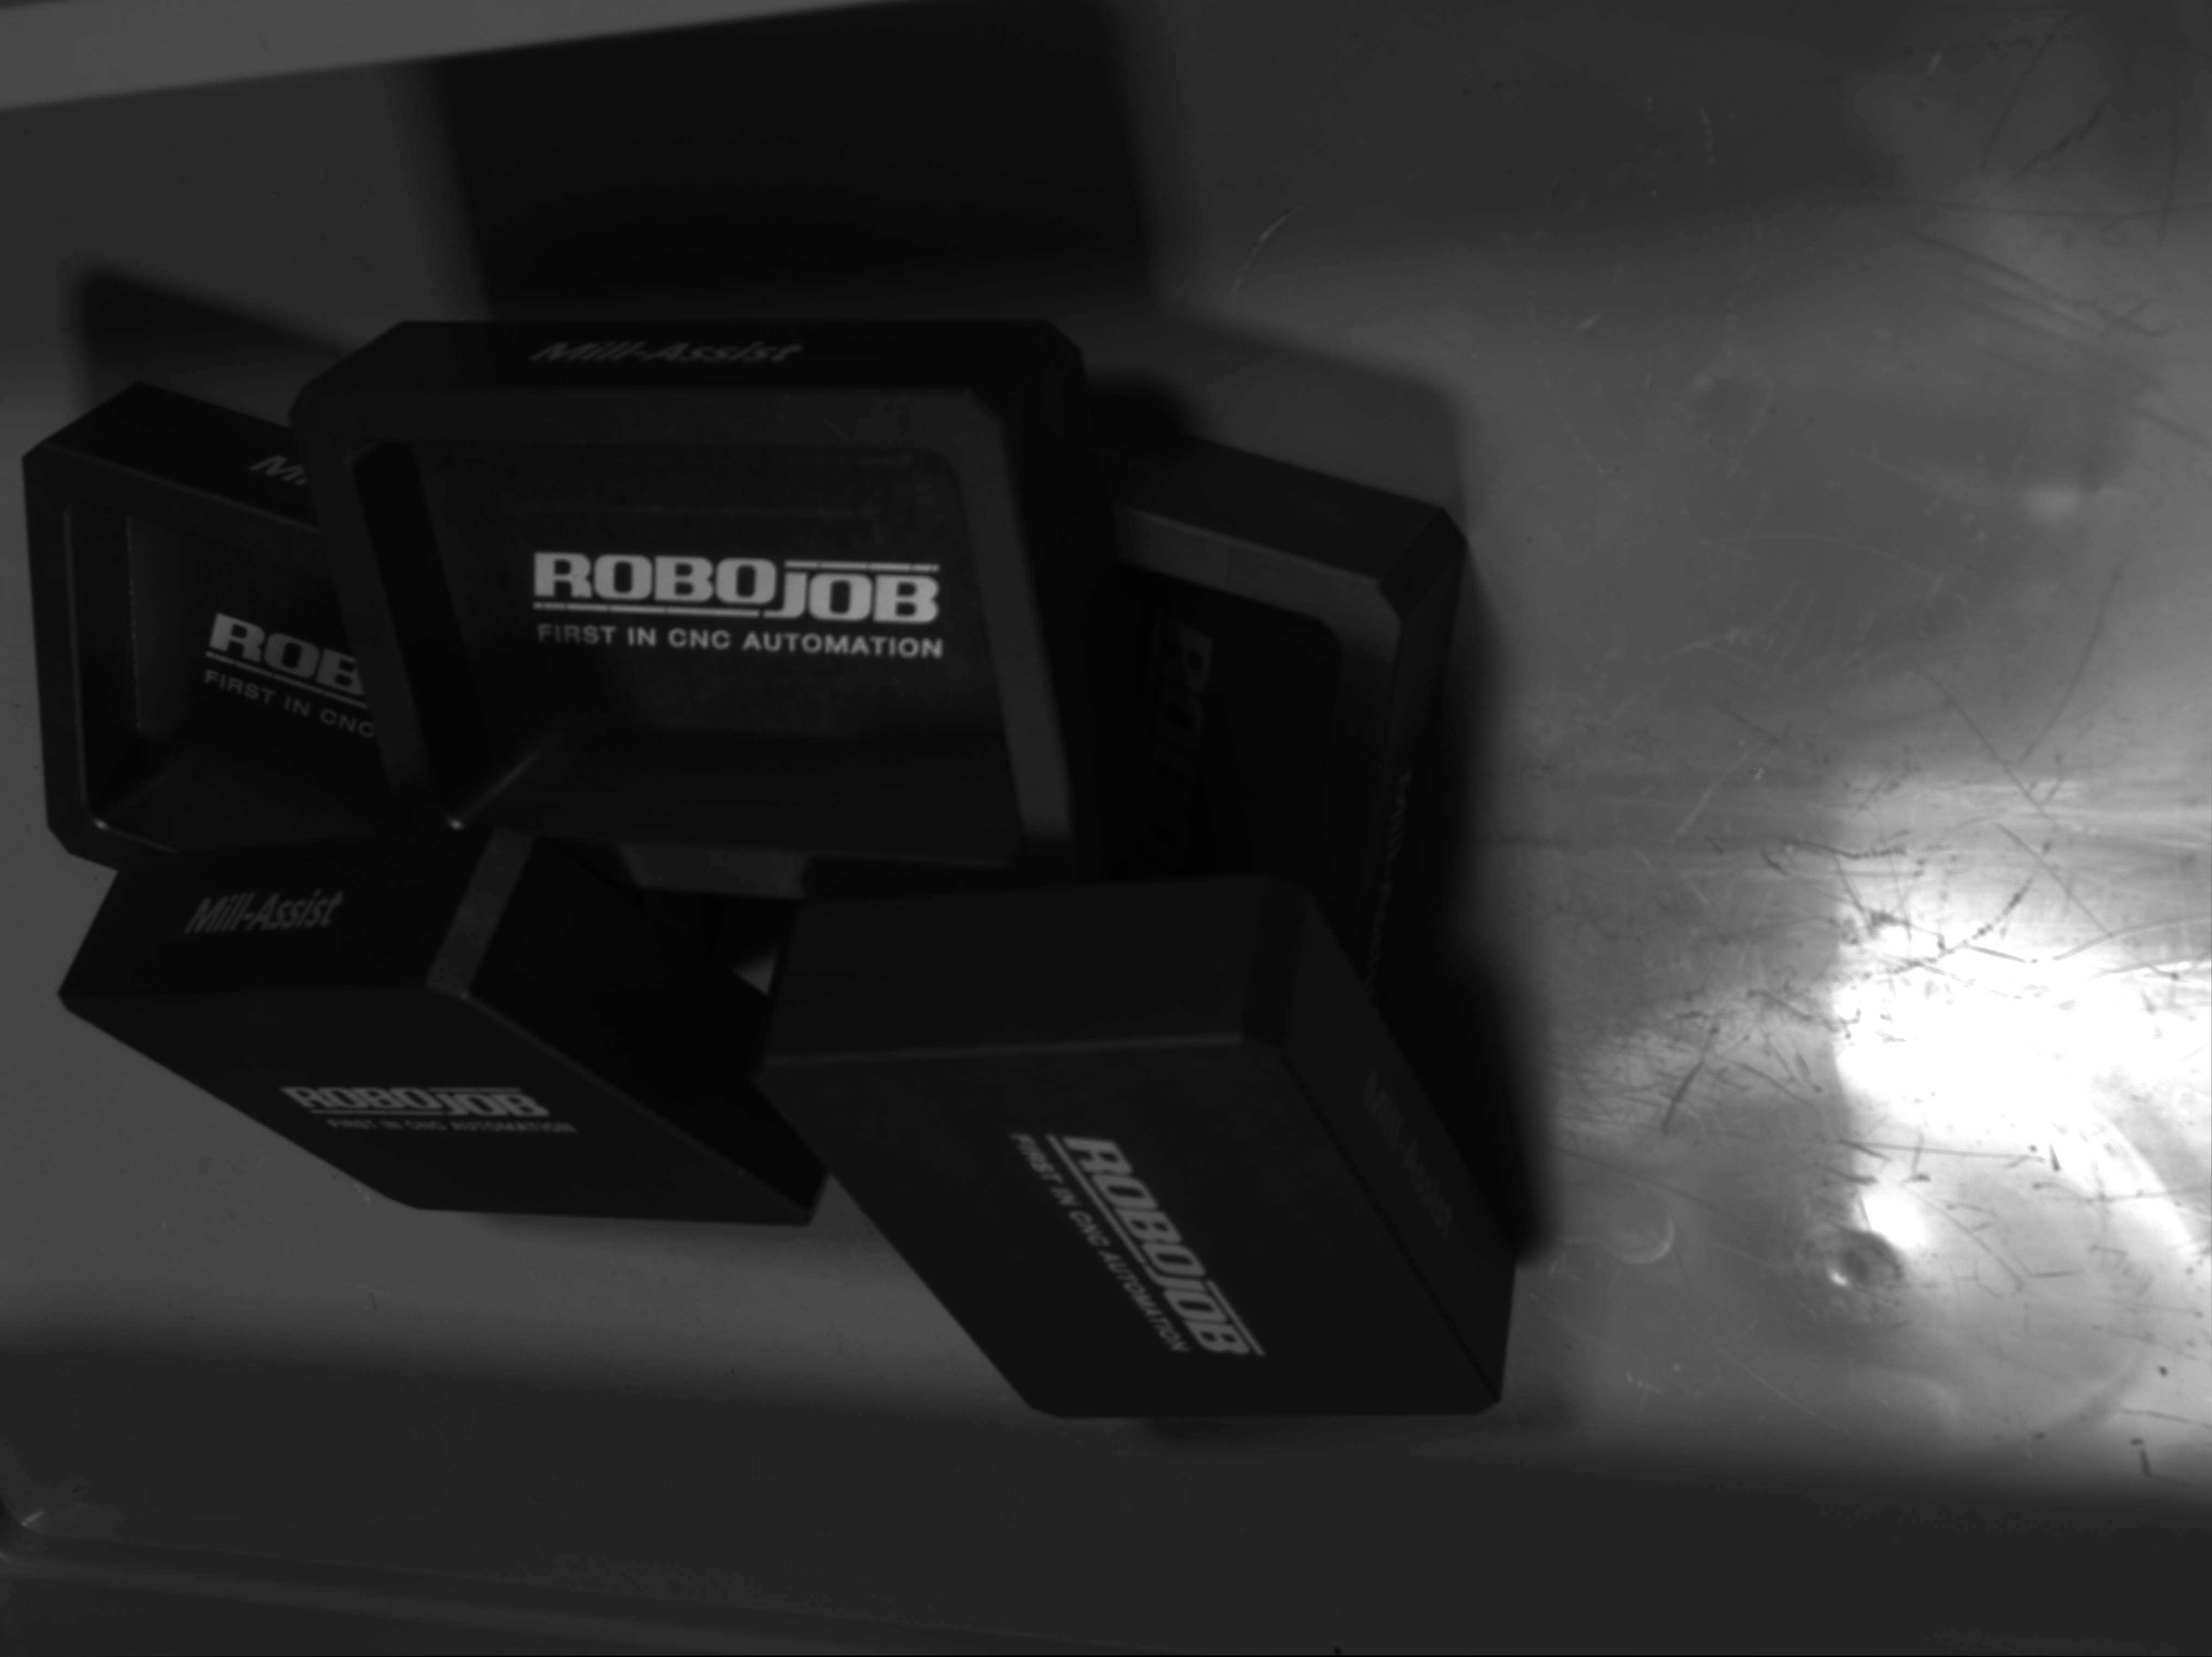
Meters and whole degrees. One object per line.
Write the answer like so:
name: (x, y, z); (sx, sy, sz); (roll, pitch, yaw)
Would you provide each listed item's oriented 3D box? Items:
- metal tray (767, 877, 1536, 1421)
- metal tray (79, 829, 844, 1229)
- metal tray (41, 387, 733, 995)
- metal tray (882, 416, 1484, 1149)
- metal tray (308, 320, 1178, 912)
metal tray: (0.011, 0.058, 0.615); (0.090, 0.030, 0.130); (-4, 145, 22)
metal tray: (-0.114, 0.038, 0.663); (0.130, 0.030, 0.090); (-4, 147, 46)
metal tray: (-0.132, -0.020, 0.678); (0.130, 0.030, 0.090); (18, 125, 16)
metal tray: (0.008, -0.002, 0.621); (0.090, 0.030, 0.130); (18, 125, 17)
metal tray: (-0.059, -0.035, 0.596); (0.130, 0.030, 0.090); (3, 120, 25)
